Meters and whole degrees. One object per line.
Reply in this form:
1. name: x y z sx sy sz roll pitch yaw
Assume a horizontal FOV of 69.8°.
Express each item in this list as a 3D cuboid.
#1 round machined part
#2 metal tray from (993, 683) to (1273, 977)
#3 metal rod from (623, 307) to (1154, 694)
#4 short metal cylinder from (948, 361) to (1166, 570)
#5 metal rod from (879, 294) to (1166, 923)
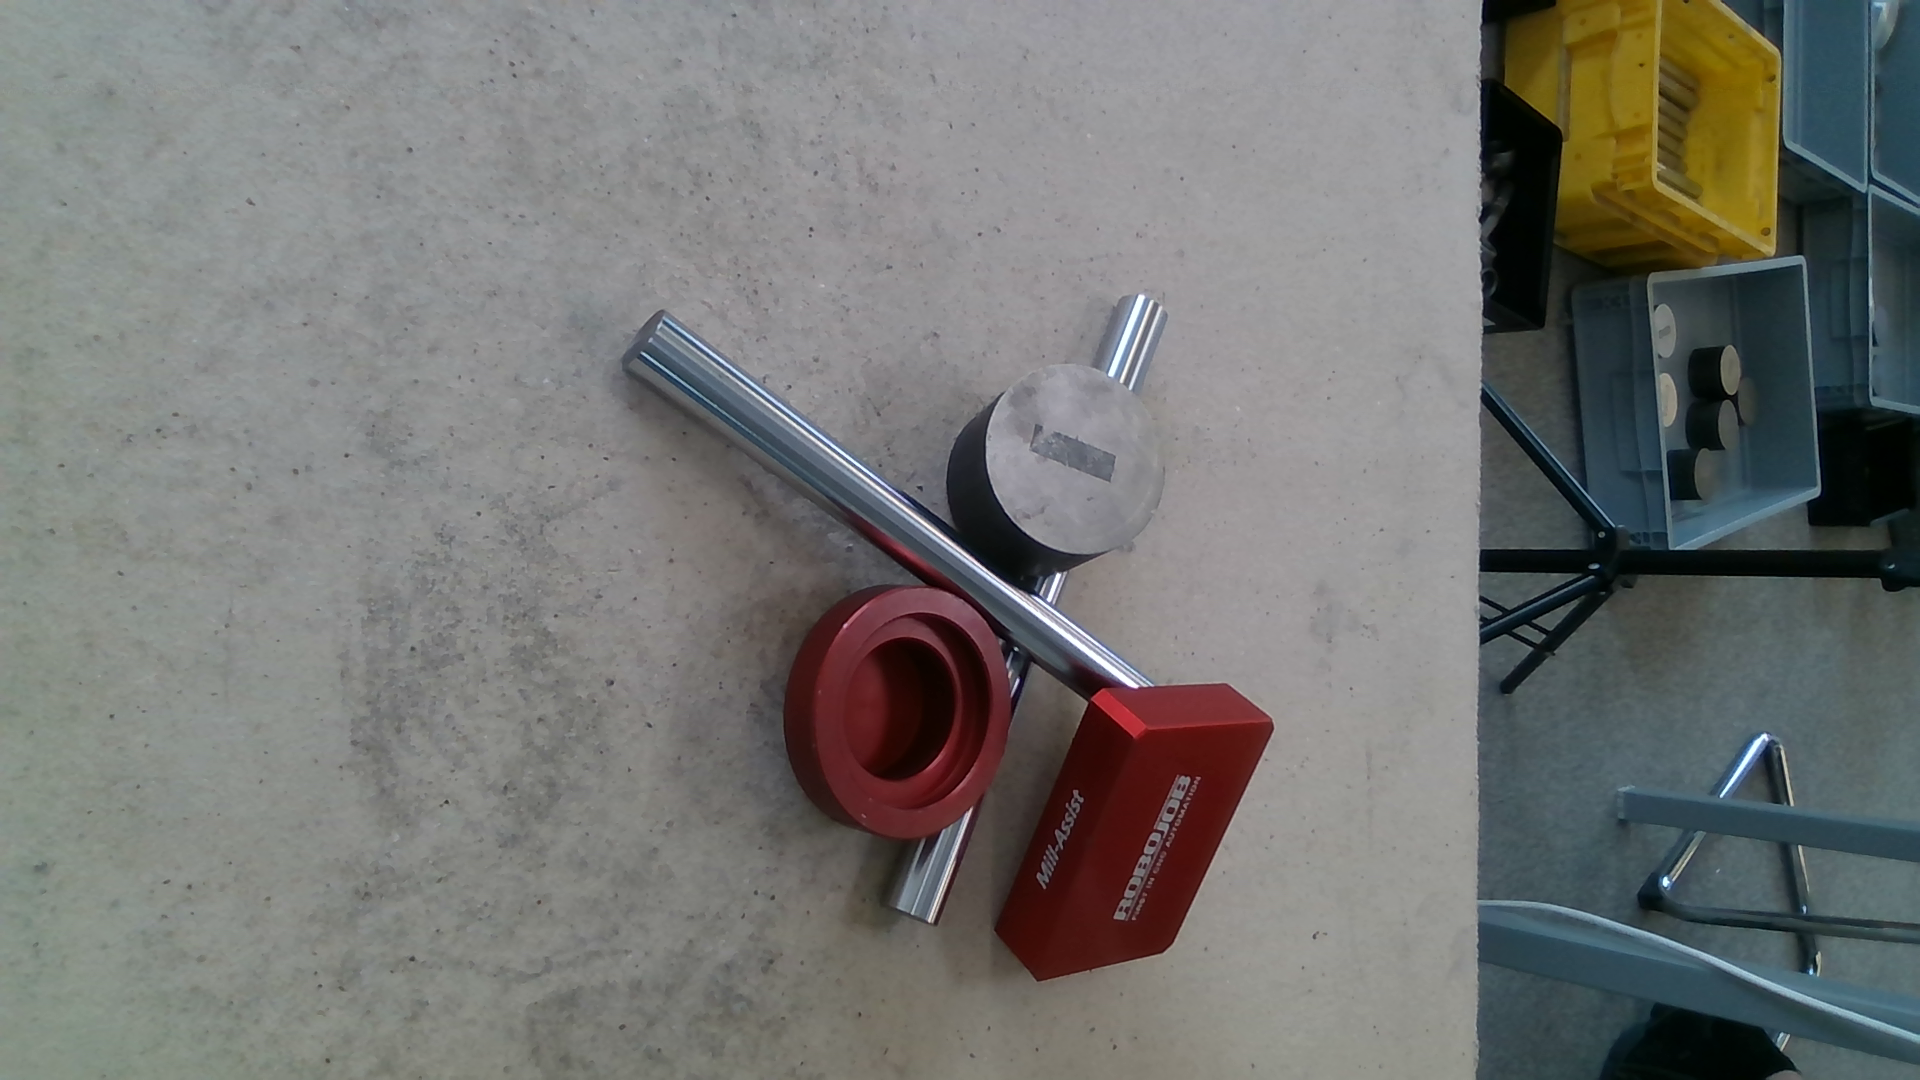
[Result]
1. round machined part: -0.030 0.066 0.548 0.098 0.042 0.098 0 90 -40
2. metal tray: 0.076 0.127 0.608 0.090 0.030 0.130 3 116 -40
3. metal rod: -0.005 0.008 0.557 0.301 0.025 0.025 37 67 -27
4. short metal cylinder: 0.040 -0.030 0.584 0.080 0.050 0.080 4 77 -19
5. metal rod: 0.033 0.022 0.612 0.025 0.025 0.299 35 68 -35
